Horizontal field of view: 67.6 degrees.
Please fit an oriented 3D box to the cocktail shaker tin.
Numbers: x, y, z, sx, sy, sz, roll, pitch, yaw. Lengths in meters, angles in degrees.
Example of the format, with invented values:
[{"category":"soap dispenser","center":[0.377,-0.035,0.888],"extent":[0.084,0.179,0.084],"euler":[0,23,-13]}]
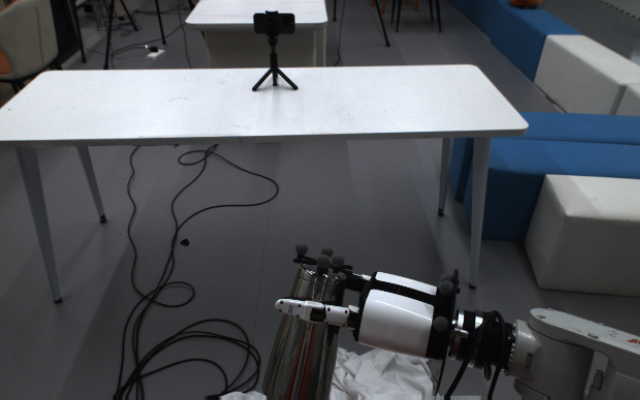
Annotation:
[{"category":"cocktail shaker tin","center":[-0.013,0.174,0.644],"extent":[0.093,0.170,0.093],"euler":[13,3,-1]}]
